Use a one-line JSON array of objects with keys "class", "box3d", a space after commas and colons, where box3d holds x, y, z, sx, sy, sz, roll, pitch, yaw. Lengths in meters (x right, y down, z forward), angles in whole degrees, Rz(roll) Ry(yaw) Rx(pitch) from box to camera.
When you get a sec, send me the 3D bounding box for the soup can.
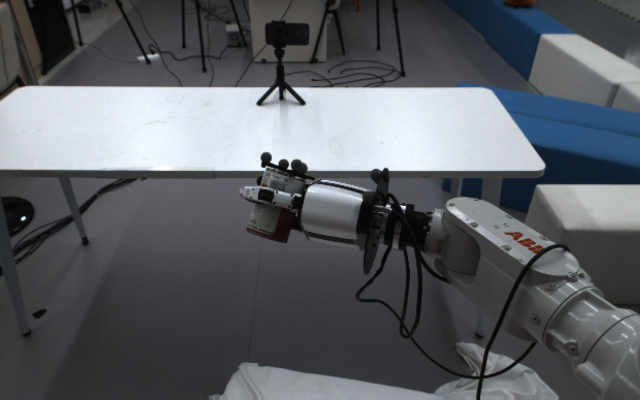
[{"class": "soup can", "box3d": [-0.067, 0.009, 0.743, 0.067, 0.101, 0.067, 17, -1, 0]}]
